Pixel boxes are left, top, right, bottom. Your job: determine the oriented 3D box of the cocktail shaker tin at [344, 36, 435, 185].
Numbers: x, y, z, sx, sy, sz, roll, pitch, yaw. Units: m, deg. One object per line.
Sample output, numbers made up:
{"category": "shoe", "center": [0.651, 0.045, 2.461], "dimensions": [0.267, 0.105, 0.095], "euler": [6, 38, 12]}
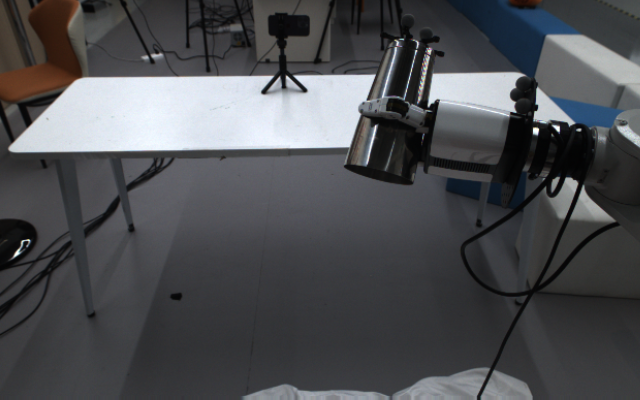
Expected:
{"category": "cocktail shaker tin", "center": [0.097, -0.114, 0.625], "dimensions": [0.093, 0.170, 0.093], "euler": [16, -4, 1]}
